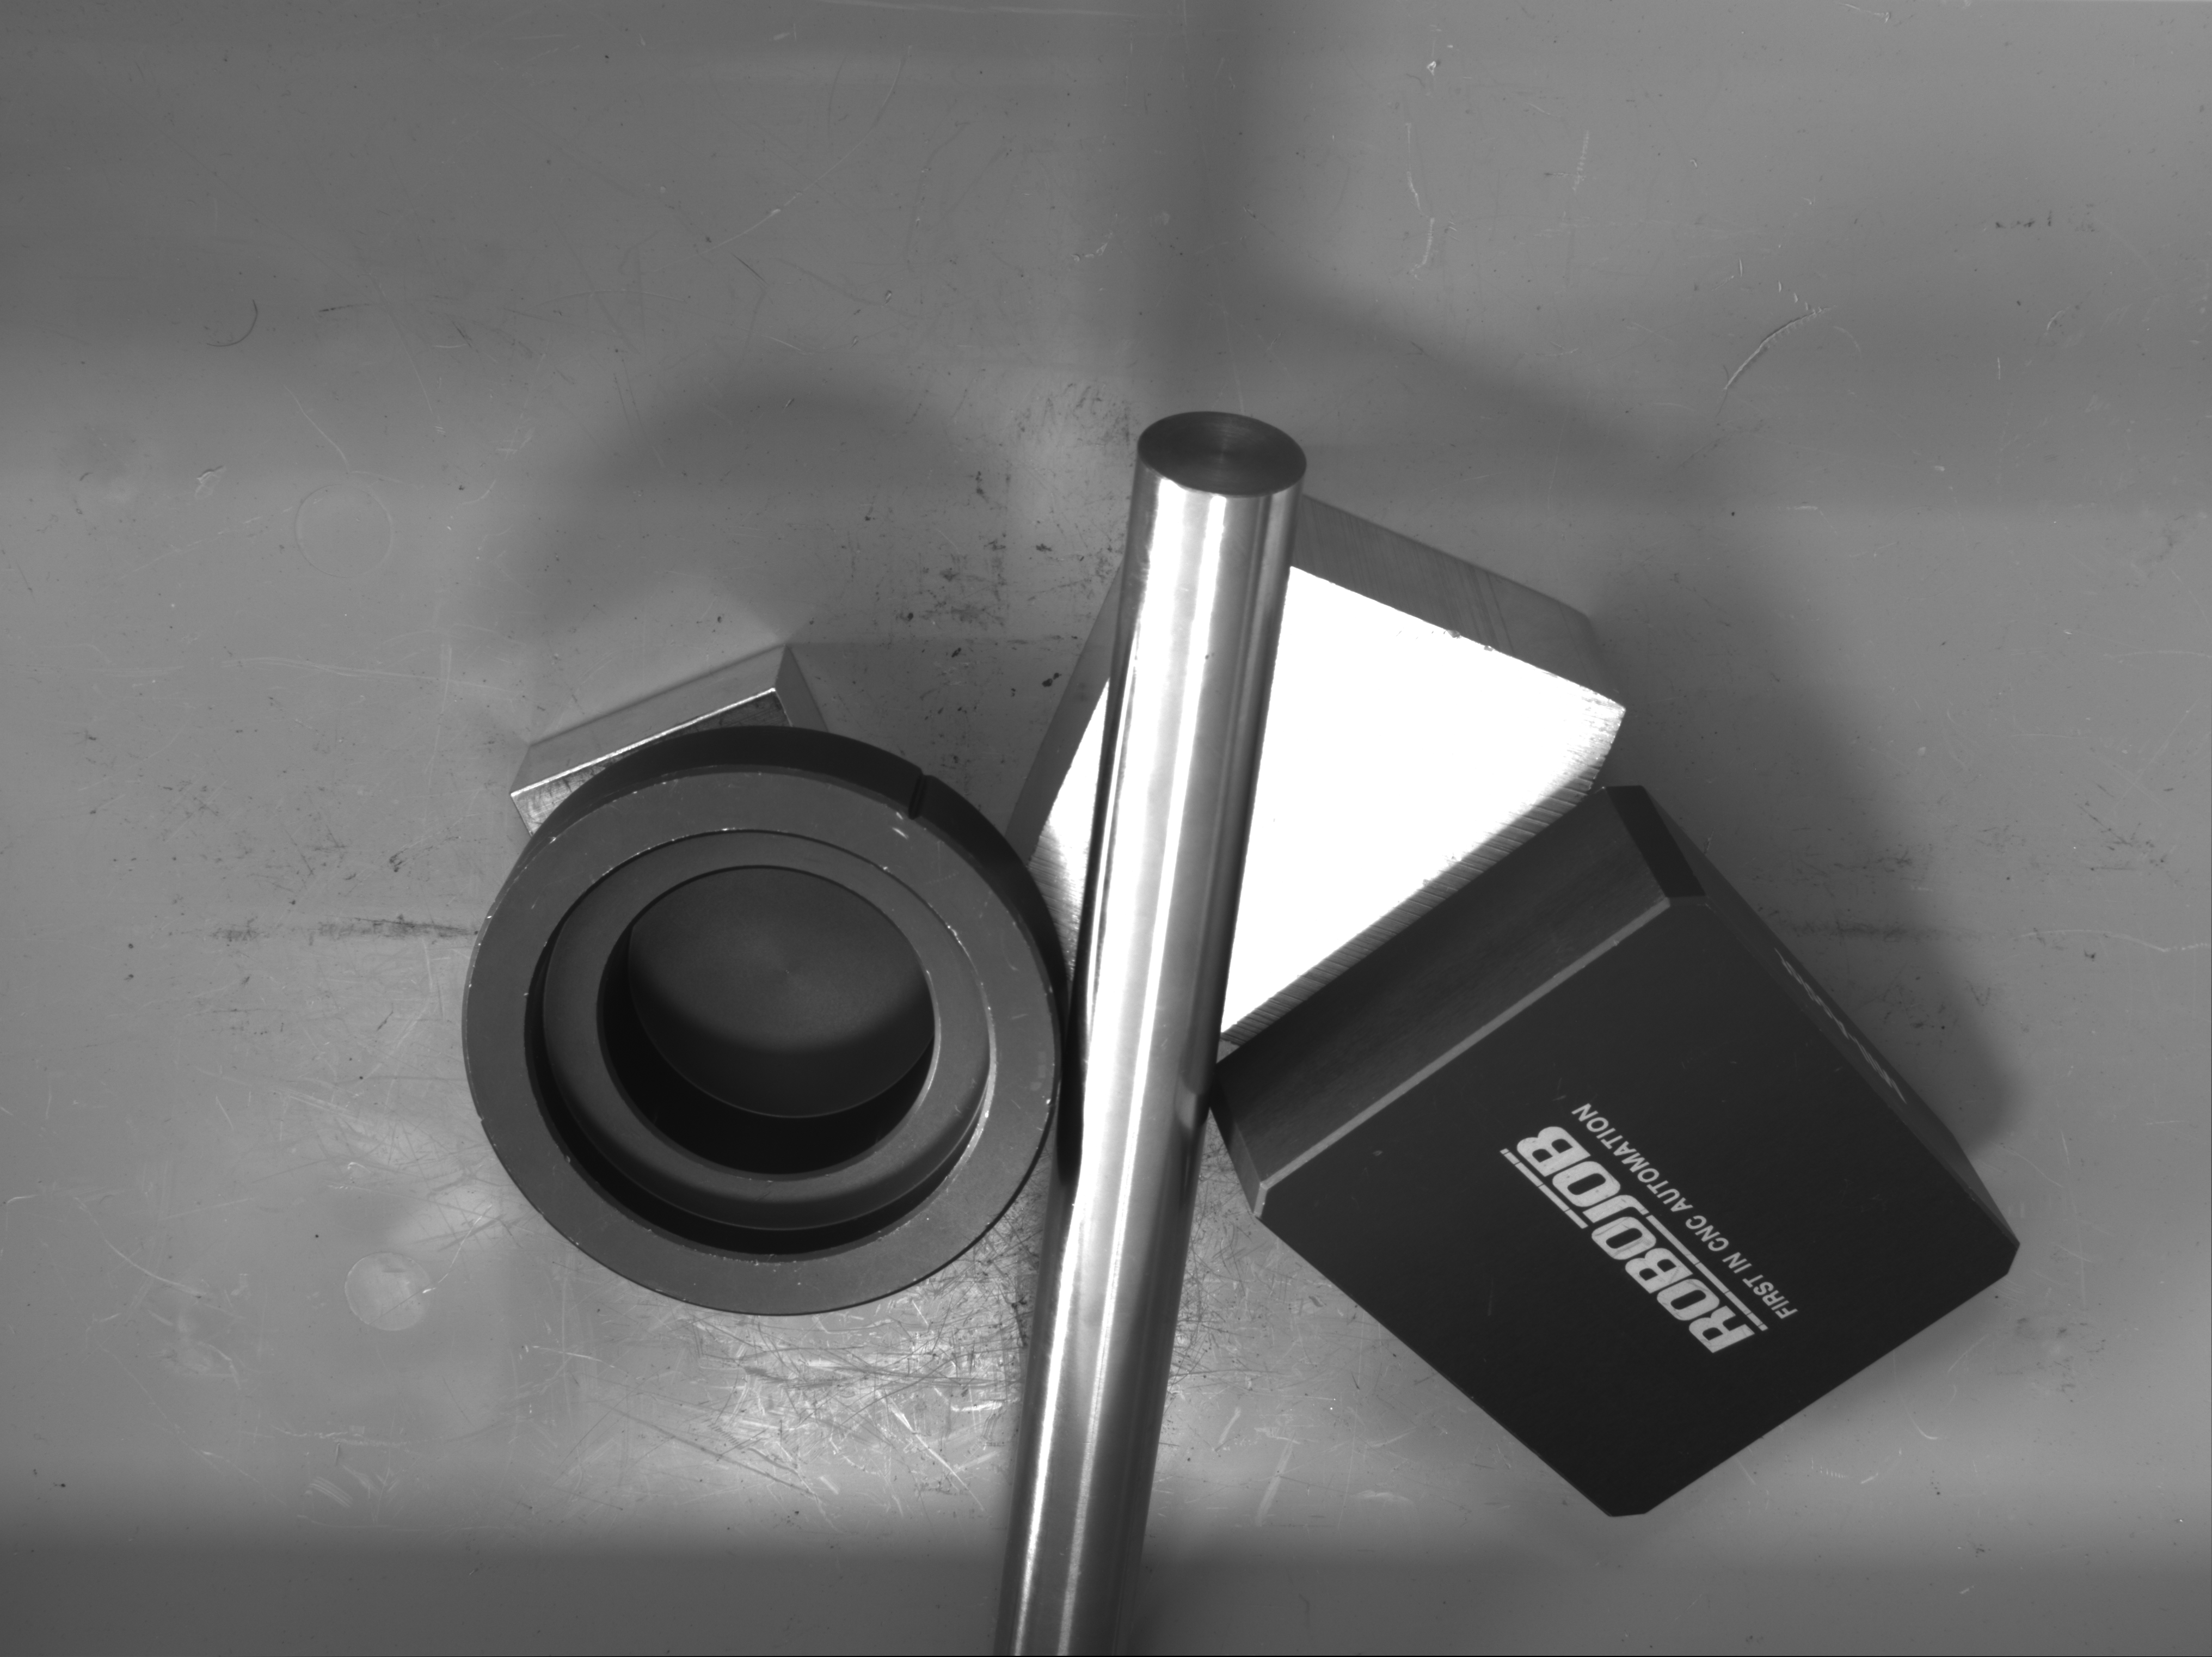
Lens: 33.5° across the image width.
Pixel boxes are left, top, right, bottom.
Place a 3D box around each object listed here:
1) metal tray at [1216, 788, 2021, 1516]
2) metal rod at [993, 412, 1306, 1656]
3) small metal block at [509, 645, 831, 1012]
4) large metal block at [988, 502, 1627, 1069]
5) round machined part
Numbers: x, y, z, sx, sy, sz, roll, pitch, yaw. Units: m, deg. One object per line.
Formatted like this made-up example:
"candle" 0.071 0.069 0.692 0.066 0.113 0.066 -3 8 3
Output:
"metal tray" 0.090 0.060 0.635 0.090 0.030 0.130 -37 131 13
"metal rod" 0.002 0.066 0.625 0.025 0.025 0.300 6 126 -2
"small metal block" -0.069 0.003 0.645 0.050 0.025 0.050 -21 109 7
"large metal block" 0.032 -0.009 0.627 0.080 0.050 0.080 22 109 -8
"round machined part" -0.055 0.029 0.615 0.098 0.042 0.098 1 111 3
